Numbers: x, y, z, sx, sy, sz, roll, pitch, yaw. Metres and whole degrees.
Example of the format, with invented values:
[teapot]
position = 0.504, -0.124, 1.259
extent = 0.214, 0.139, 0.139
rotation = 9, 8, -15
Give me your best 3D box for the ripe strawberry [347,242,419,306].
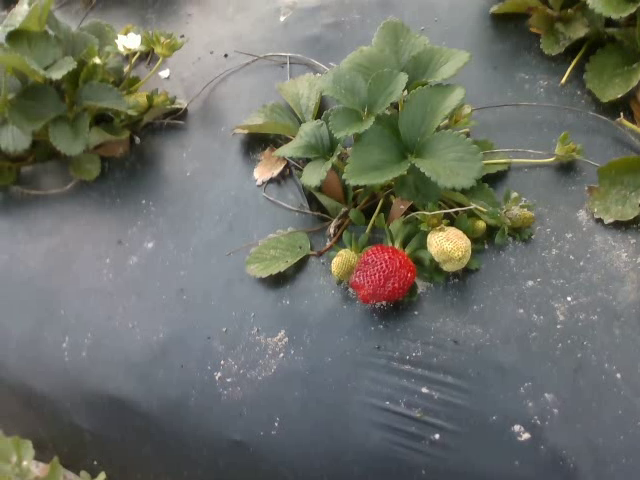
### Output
[ripe strawberry]
position = 0.041, 0.029, 0.427
extent = 0.047, 0.045, 0.059
rotation = 9, 29, 30
